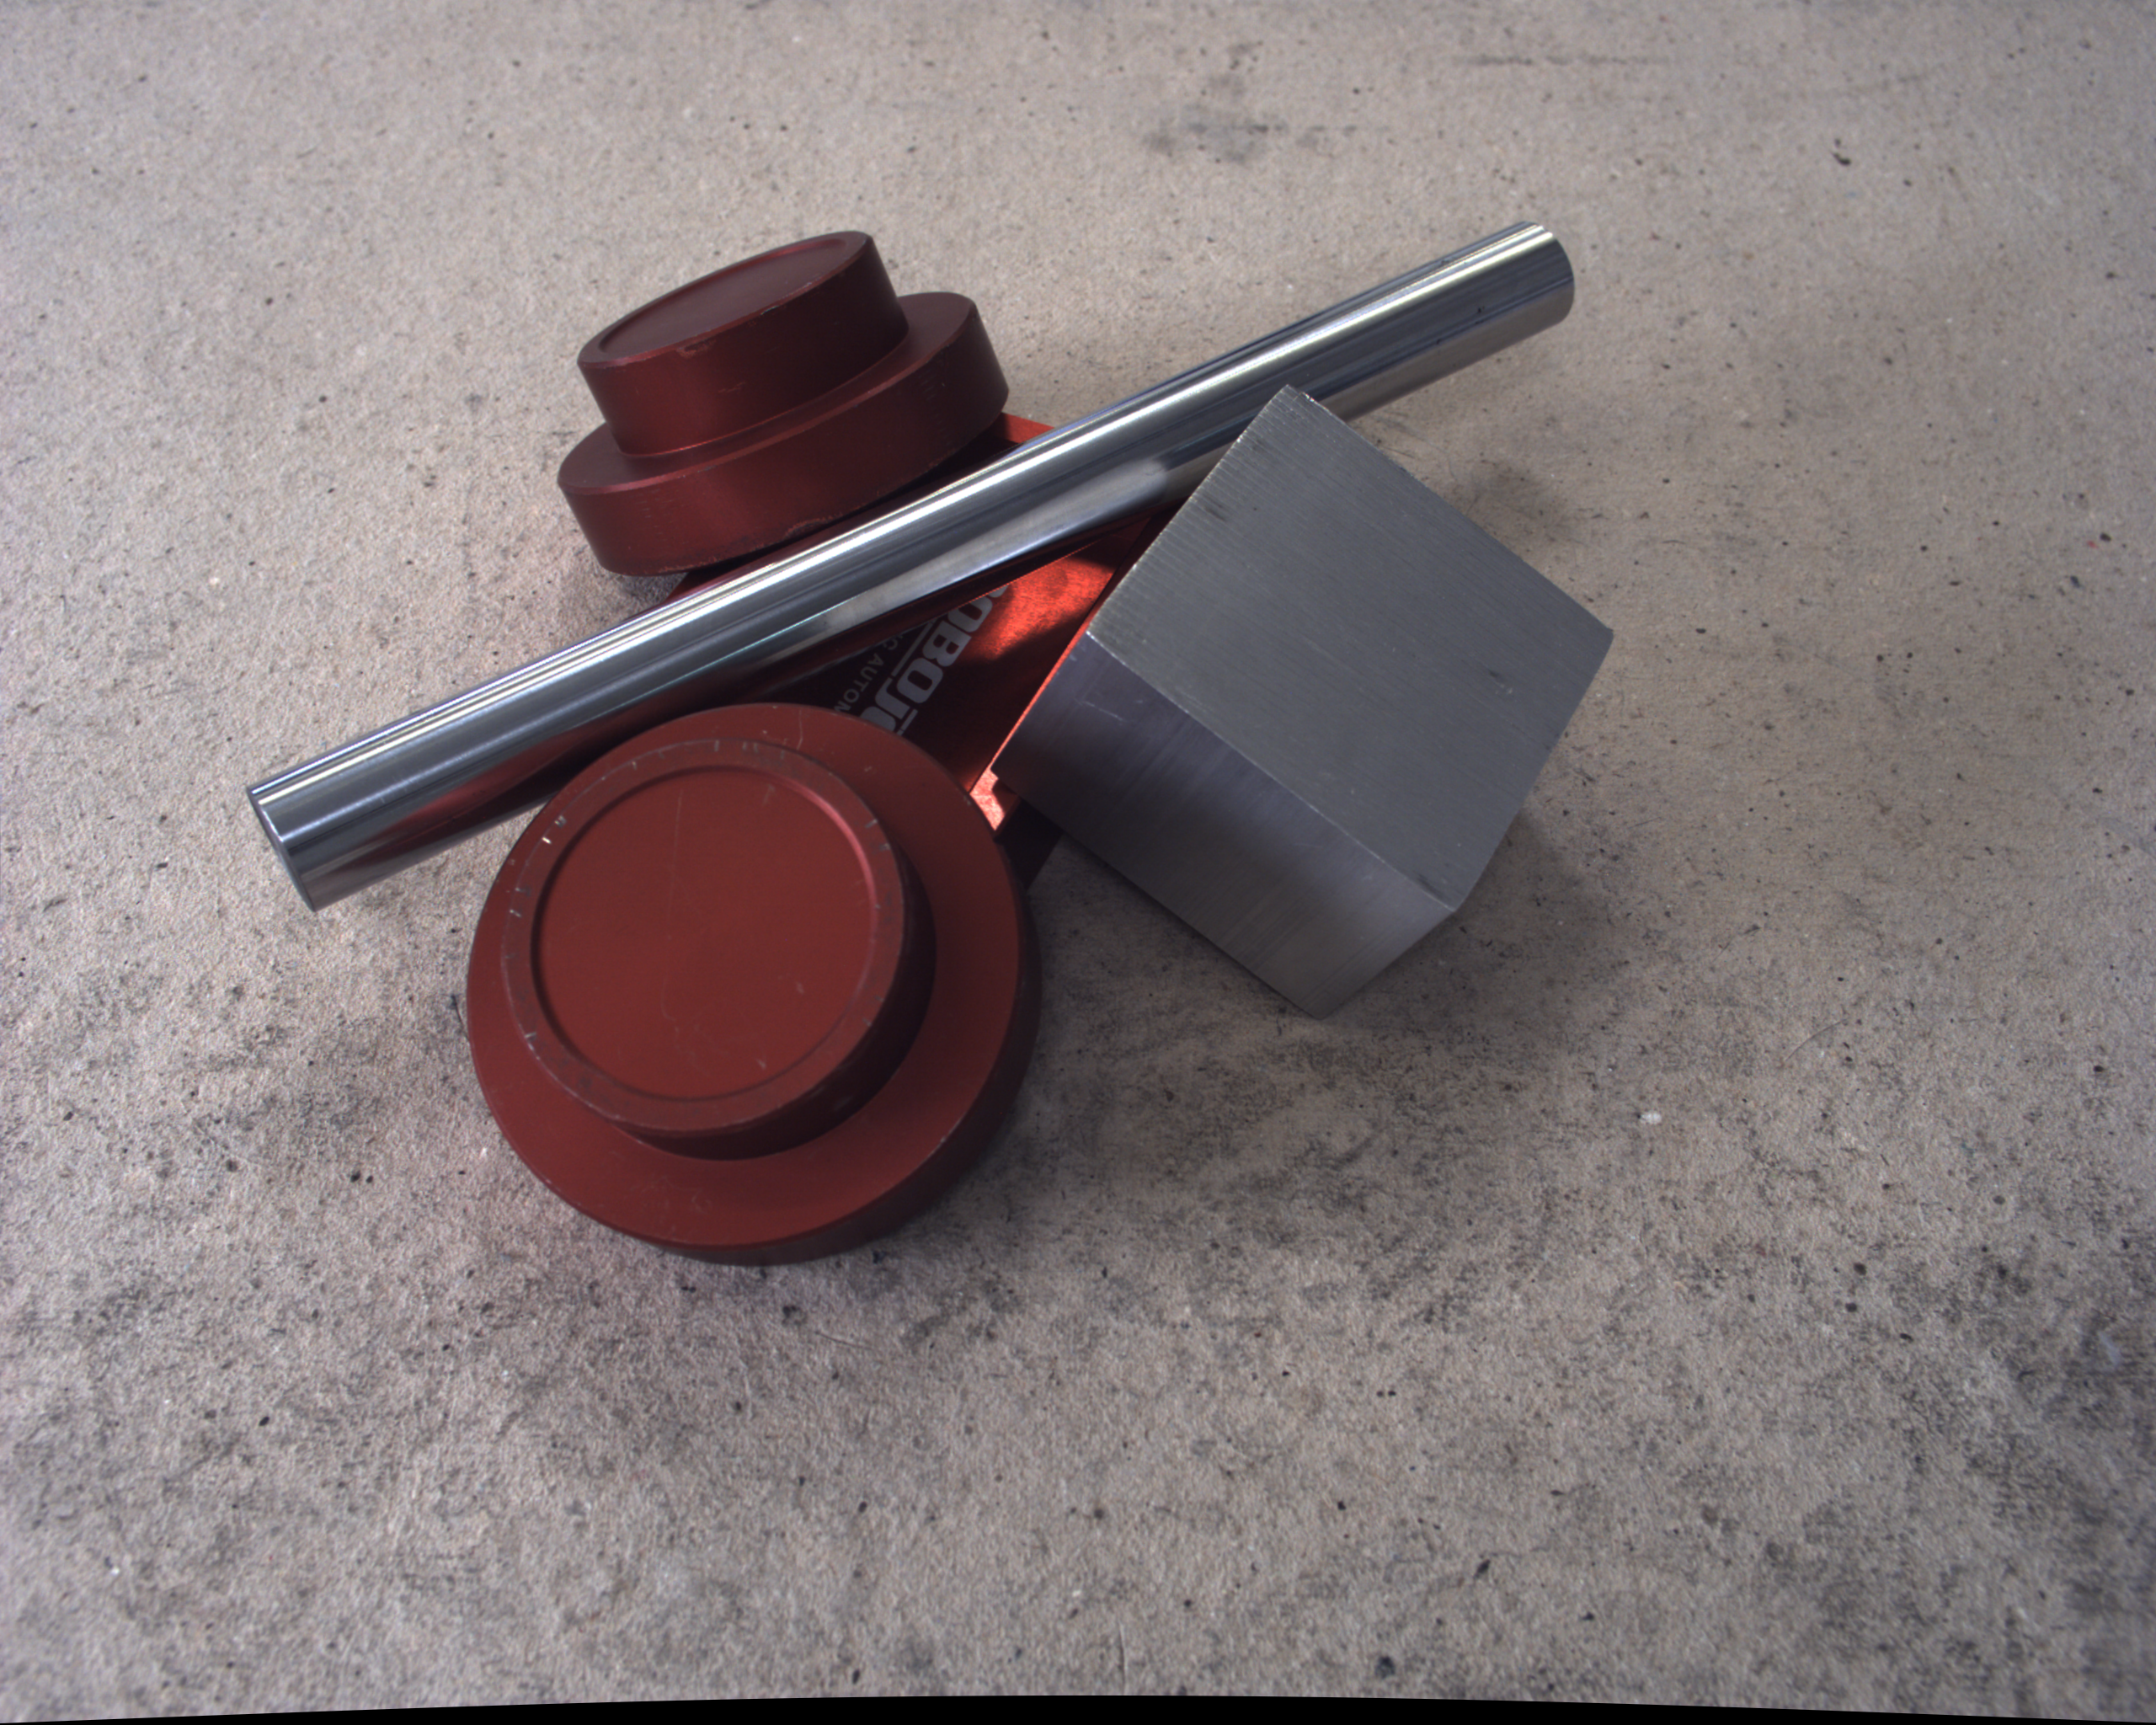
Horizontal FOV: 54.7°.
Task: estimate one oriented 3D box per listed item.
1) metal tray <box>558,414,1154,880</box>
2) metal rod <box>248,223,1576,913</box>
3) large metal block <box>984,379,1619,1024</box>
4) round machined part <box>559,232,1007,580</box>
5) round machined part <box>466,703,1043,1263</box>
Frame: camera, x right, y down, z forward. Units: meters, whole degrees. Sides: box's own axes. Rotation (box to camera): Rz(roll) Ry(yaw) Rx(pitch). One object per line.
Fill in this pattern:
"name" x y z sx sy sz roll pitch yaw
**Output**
"metal tray" -0.036 -0.044 0.438 0.090 0.030 0.130 19 53 15
"metal rod" -0.017 -0.069 0.424 0.302 0.025 0.025 -28 56 -22
"large metal block" 0.043 -0.031 0.396 0.080 0.050 0.080 37 55 -2
"round machined part" -0.068 -0.103 0.454 0.098 0.042 0.098 -18 28 10
"round machined part" -0.057 0.017 0.356 0.099 0.042 0.098 -2 70 6
